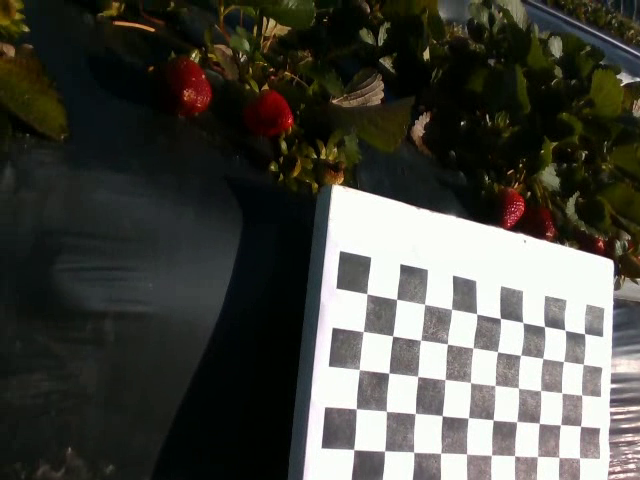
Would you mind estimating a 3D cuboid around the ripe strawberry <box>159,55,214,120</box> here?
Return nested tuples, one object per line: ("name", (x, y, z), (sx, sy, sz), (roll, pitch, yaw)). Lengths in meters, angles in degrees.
("ripe strawberry", (-0.096, -0.103, 0.392), (0.050, 0.045, 0.050), (32, 7, -26))

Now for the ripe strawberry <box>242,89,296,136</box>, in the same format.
("ripe strawberry", (-0.035, -0.093, 0.431), (0.042, 0.039, 0.049), (-37, 43, -23))
